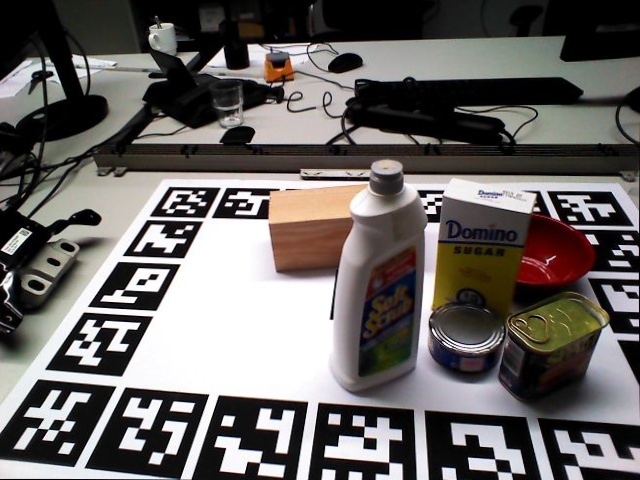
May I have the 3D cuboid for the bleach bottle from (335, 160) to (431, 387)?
[{"bbox_3d":[0.060,0.034,0.521,0.102,0.251,0.068,-15,36,-12],"label":"bleach bottle"}]

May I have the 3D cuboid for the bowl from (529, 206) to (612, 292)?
[{"bbox_3d":[0.287,0.019,0.681,0.162,0.055,0.161,-7,34,4],"label":"bowl"}]

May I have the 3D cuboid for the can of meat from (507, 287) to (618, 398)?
[{"bbox_3d":[0.249,0.108,0.542,0.101,0.084,0.058,-16,34,-17],"label":"can of meat"}]

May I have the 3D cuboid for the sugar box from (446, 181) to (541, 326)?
[{"bbox_3d":[0.194,0.014,0.590,0.093,0.177,0.045,12,41,28],"label":"sugar box"}]

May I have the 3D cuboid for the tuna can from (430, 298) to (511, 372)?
[{"bbox_3d":[0.169,0.107,0.586,0.086,0.034,0.085,-4,38,3],"label":"tuna can"}]

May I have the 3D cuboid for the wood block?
[{"bbox_3d":[0.035,-0.023,0.748,0.207,0.090,0.090,-4,40,0],"label":"wood block"}]
